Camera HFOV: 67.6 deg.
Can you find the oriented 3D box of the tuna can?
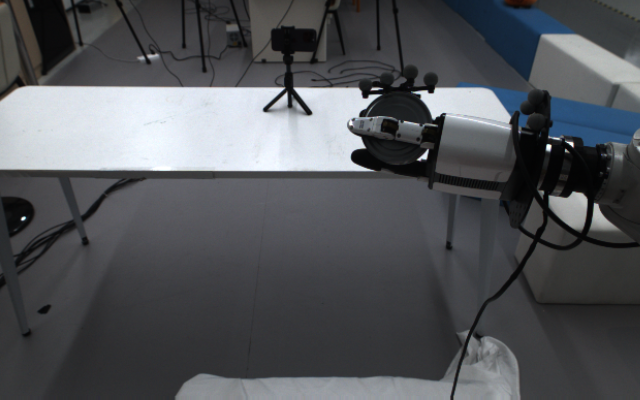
[{"bbox_3d":[0.095,-0.087,0.591,0.085,0.085,0.034,15,2,18],"label":"tuna can"}]
